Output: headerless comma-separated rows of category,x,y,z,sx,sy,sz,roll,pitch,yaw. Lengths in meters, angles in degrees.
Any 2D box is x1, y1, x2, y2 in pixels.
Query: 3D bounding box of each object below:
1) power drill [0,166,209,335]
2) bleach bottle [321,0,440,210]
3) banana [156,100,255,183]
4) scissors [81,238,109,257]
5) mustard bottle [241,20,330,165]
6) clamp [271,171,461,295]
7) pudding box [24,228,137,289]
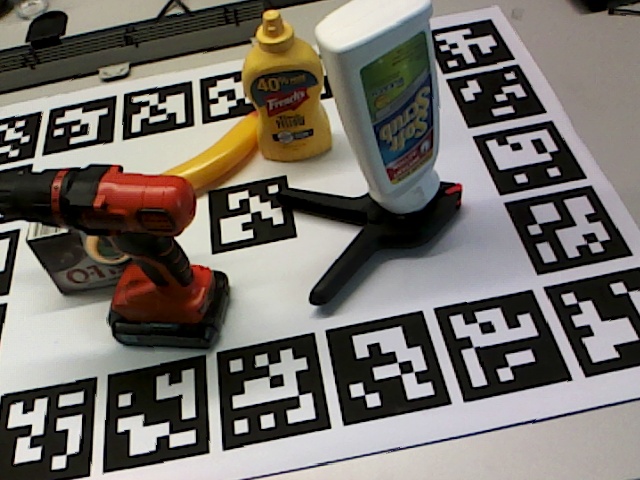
power drill,-0.192,0.014,0.577,0.185,0.186,0.057,-2,45,11
bleach bottle,0.079,-0.116,0.614,0.102,0.249,0.068,-30,50,-6
banana,-0.143,-0.124,0.799,0.075,0.038,0.197,22,58,43
scissors,-0.271,-0.036,0.645,0.203,0.016,0.088,11,59,12
mustard bottle,-0.043,-0.174,0.739,0.096,0.191,0.058,0,52,8
clamp,0.060,-0.033,0.686,0.202,0.036,0.166,-16,54,-5
pudding box,-0.253,0.007,0.690,0.114,0.089,0.039,-8,45,2
